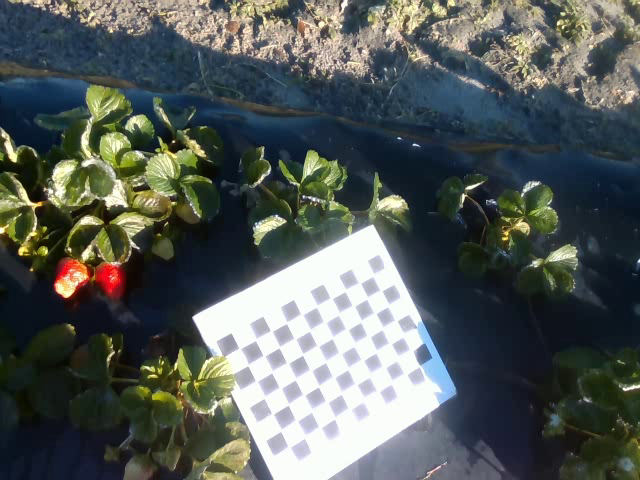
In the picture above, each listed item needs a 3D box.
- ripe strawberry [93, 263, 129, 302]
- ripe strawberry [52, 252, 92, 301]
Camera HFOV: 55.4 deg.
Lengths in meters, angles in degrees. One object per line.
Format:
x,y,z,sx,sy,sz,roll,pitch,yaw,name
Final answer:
-0.311,0.058,0.894,0.043,0.059,0.040,-27,-5,-18,ripe strawberry
-0.364,0.060,0.889,0.052,0.070,0.040,23,-21,-19,ripe strawberry
